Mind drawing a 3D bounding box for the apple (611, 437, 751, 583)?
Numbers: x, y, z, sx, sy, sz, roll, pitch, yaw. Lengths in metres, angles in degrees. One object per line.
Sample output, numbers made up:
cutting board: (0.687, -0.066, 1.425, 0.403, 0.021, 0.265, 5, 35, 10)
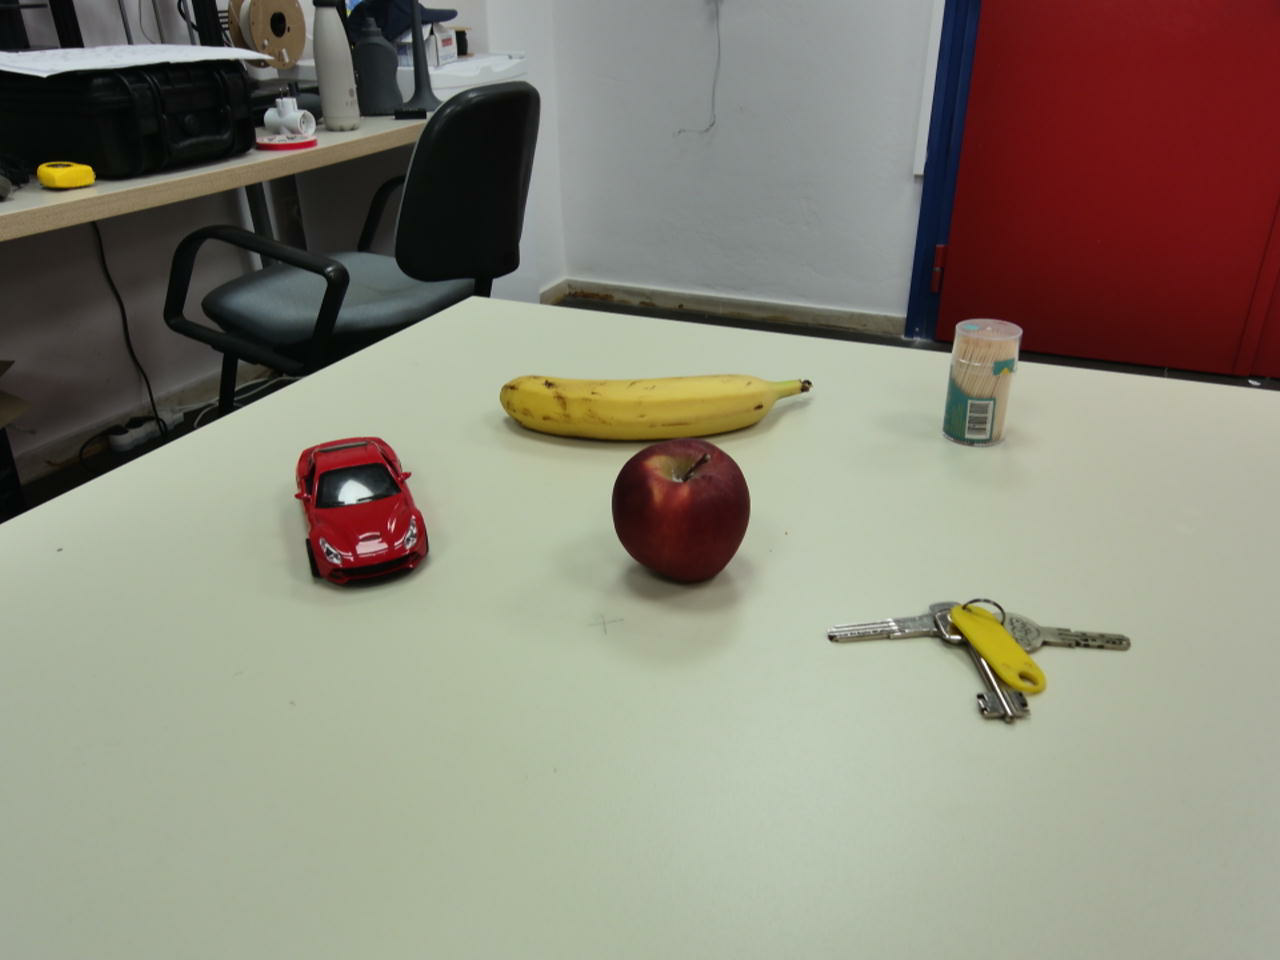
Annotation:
apple: (0.021, 0.015, 0.498, 0.070, 0.072, 0.070, 1, 25, 0)
